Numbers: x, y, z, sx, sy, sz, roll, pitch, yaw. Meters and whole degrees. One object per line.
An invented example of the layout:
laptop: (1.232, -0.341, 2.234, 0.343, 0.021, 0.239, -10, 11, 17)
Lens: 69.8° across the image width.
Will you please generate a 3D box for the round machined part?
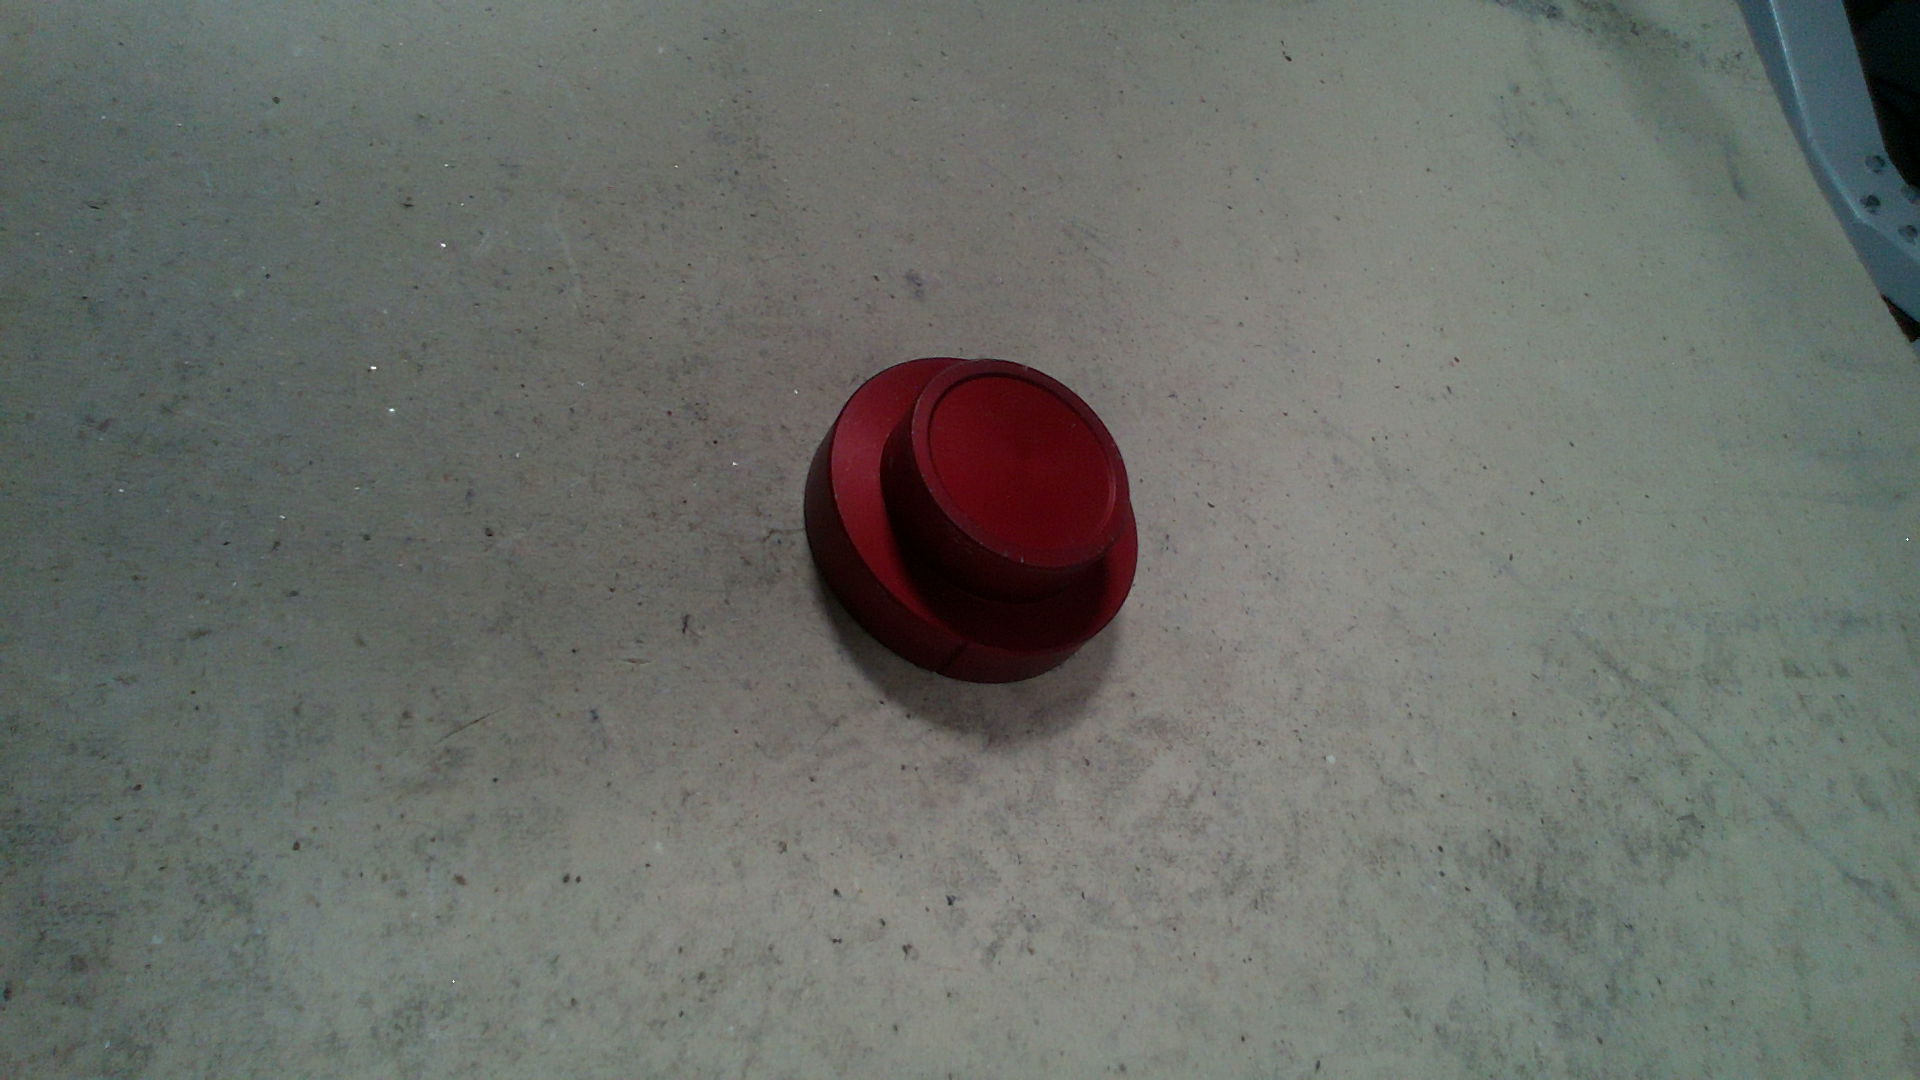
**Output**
round machined part: (0.009, -0.012, 0.391, 0.098, 0.042, 0.098, 14, 56, -21)
